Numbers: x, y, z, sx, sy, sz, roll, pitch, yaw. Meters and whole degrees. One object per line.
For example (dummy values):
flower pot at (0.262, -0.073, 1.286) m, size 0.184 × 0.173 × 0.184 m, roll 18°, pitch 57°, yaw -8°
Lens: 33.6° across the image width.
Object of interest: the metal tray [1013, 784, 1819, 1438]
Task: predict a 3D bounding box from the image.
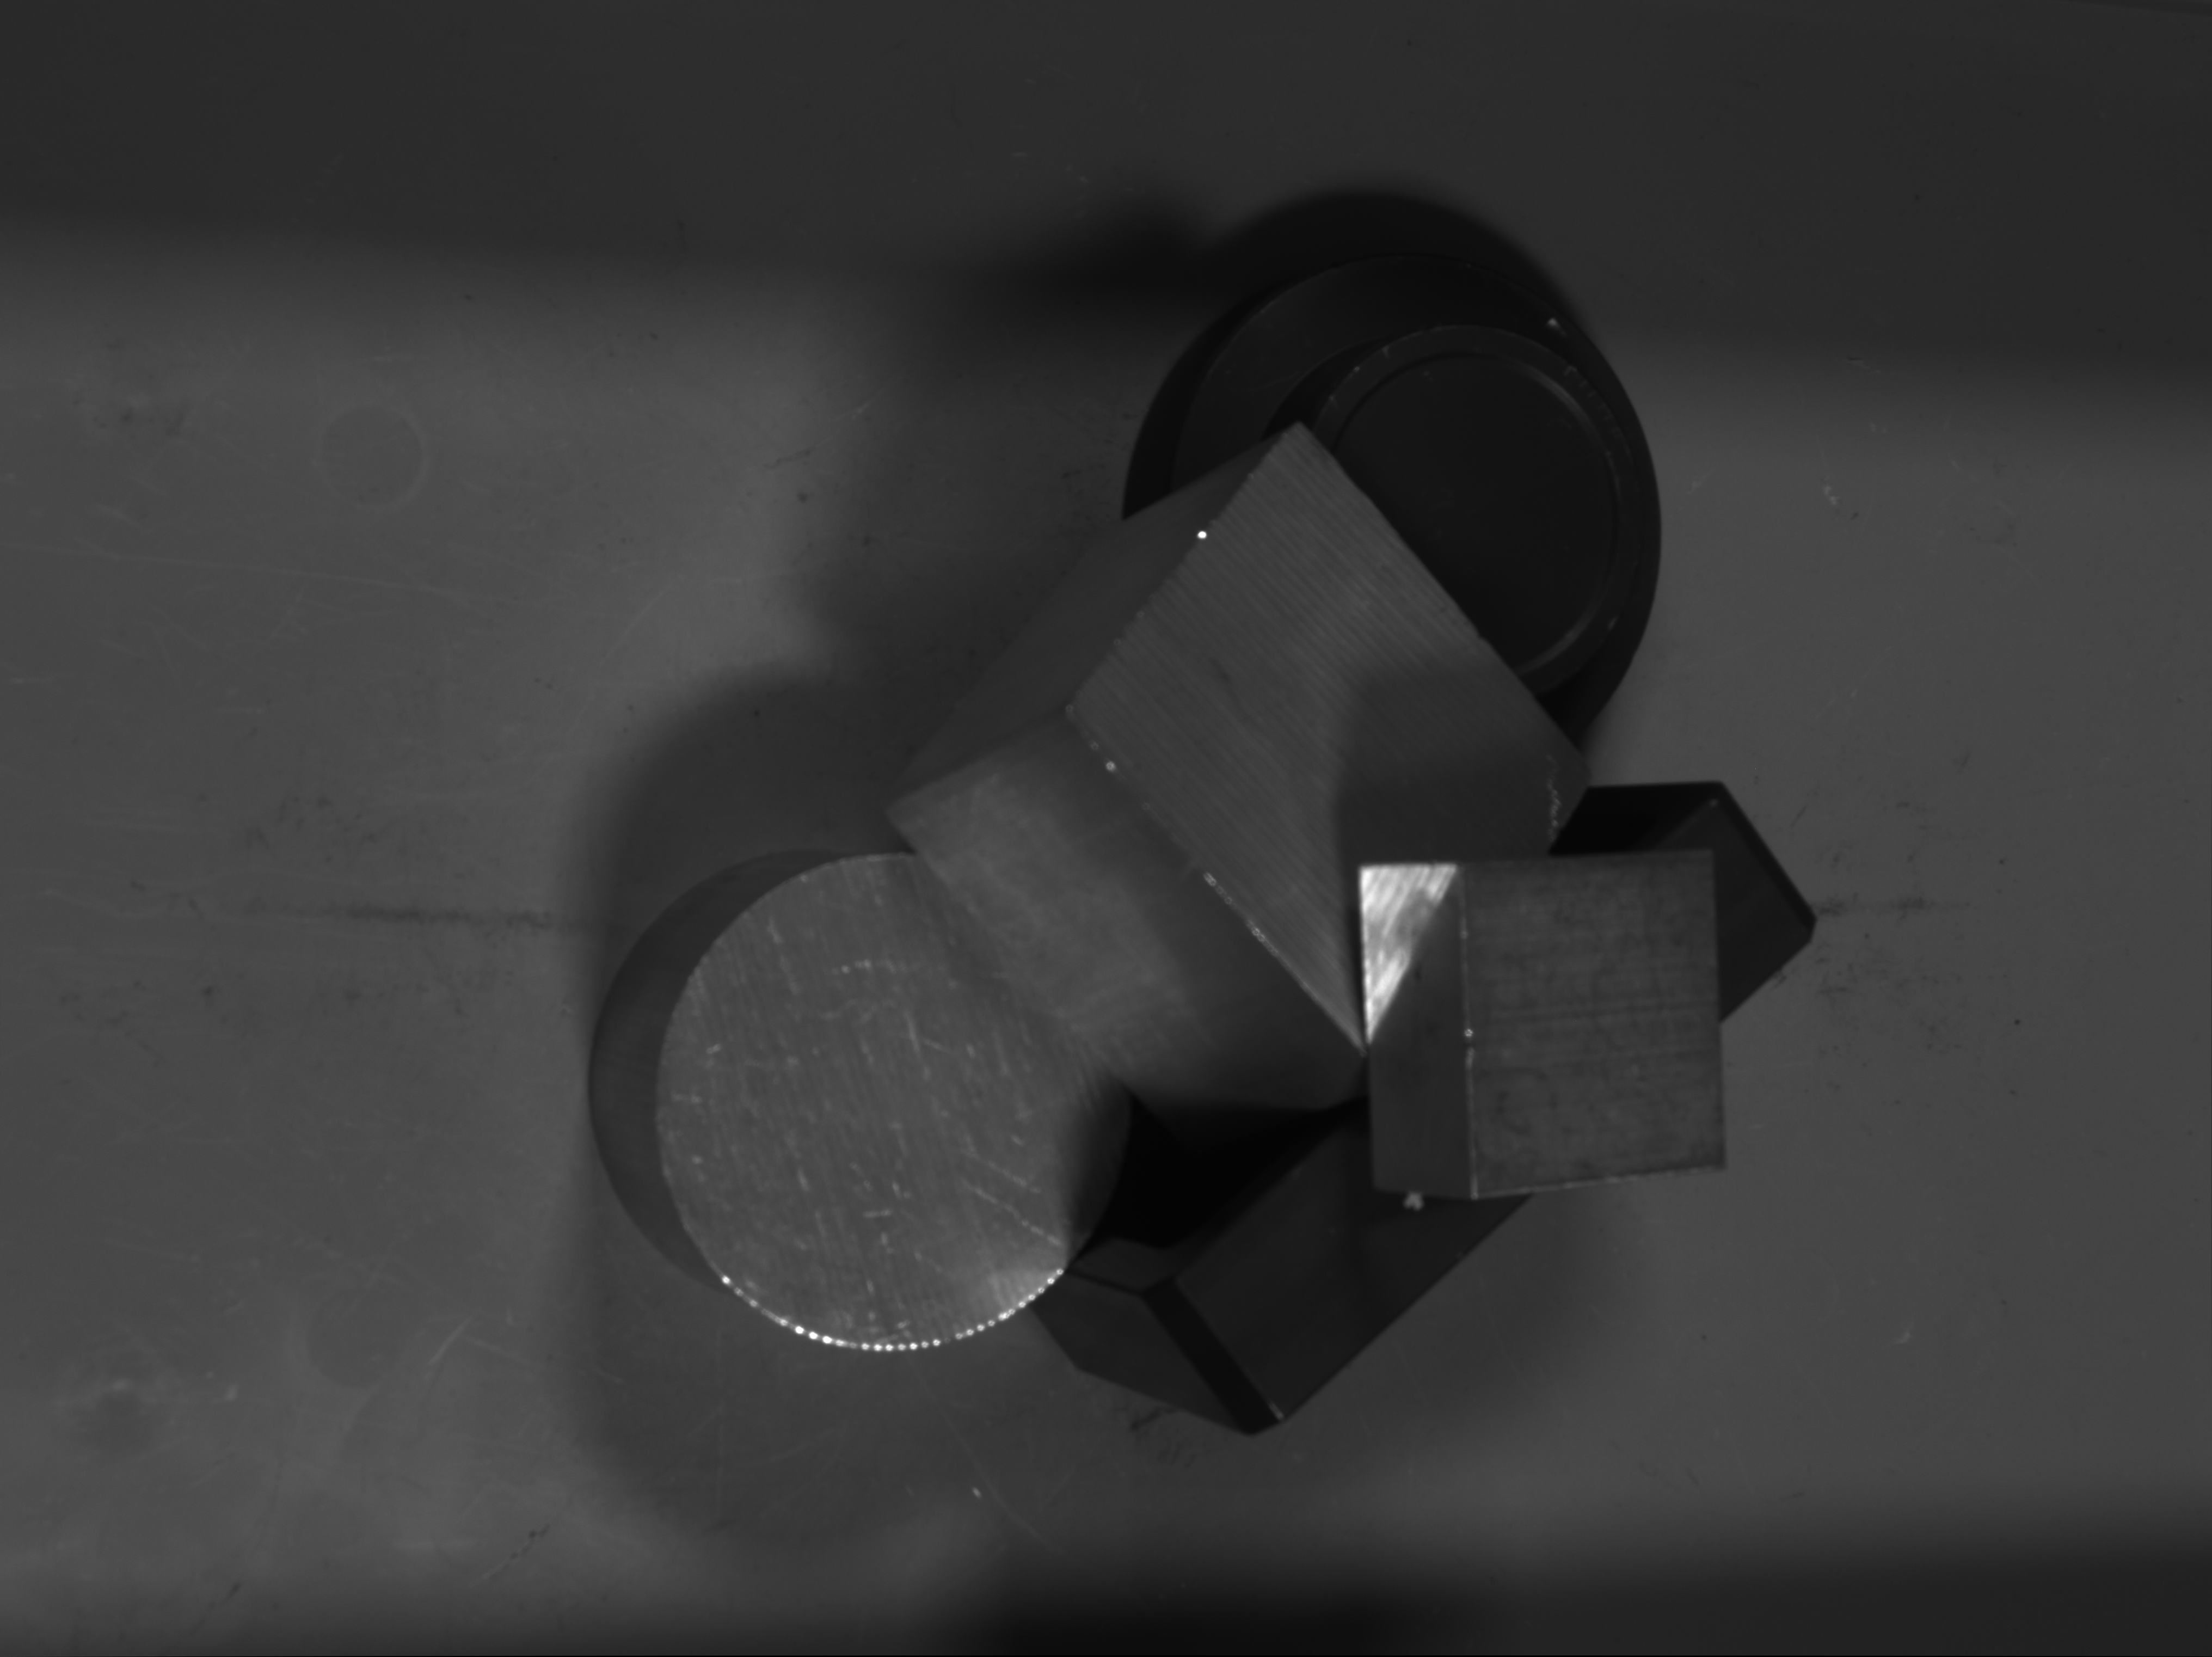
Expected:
metal tray at (0.049, 0.045, 0.625) m, size 0.130 × 0.090 × 0.030 m, roll -40°, pitch 102°, yaw -16°

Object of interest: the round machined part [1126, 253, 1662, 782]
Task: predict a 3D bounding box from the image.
round machined part at (0.056, -0.054, 0.653) m, size 0.098 × 0.042 × 0.098 m, roll 0°, pitch 90°, yaw -20°

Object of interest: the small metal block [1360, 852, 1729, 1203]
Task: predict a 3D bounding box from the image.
small metal block at (0.068, 0.030, 0.565) m, size 0.050 × 0.025 × 0.050 m, roll -3°, pitch 90°, yaw -33°

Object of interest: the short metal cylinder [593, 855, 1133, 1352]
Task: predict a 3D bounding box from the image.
short metal cylinder at (-0.042, 0.044, 0.613) m, size 0.080 × 0.050 × 0.080 m, roll 0°, pitch 90°, yaw -20°

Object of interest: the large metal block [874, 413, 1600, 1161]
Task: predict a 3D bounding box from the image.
large metal block at (0.023, -0.006, 0.599) m, size 0.080 × 0.050 × 0.080 m, roll 48°, pitch 51°, yaw -13°
